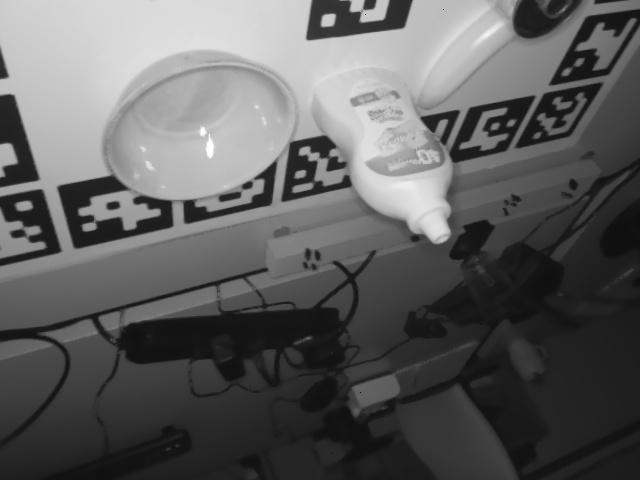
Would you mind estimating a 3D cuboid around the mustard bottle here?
[{"bbox_3d":[0.100,-0.074,0.646,0.097,0.191,0.057,-13,150,-20],"label":"mustard bottle"}]

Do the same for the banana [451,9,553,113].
[{"bbox_3d":[0.209,-0.199,0.711,0.195,0.039,0.075,-38,157,20],"label":"banana"}]

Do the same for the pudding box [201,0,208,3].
[{"bbox_3d":[-0.052,-0.227,0.470,0.114,0.038,0.090,-26,144,0],"label":"pudding box"}]

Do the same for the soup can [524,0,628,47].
[{"bbox_3d":[0.203,-0.223,0.587,0.068,0.102,0.067,-17,150,-9],"label":"soup can"}]

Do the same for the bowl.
[{"bbox_3d":[-0.085,-0.112,0.613,0.163,0.055,0.160,-21,150,-11],"label":"bowl"}]
